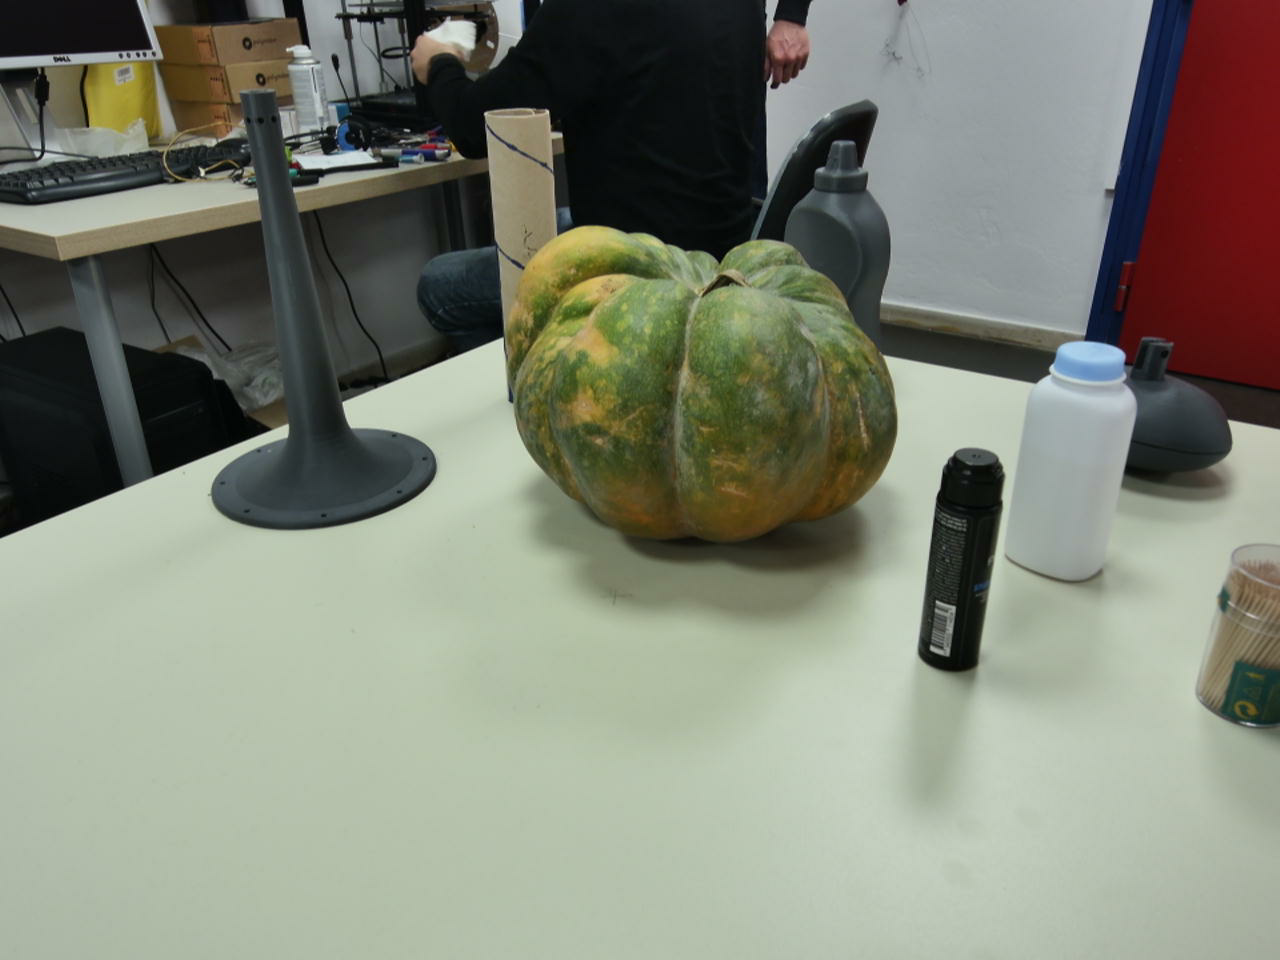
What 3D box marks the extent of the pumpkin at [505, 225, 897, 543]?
[{"bbox_3d":[0.038,-0.066,0.629,0.237,0.173,0.270,-7,26,-15],"label":"pumpkin"}]
